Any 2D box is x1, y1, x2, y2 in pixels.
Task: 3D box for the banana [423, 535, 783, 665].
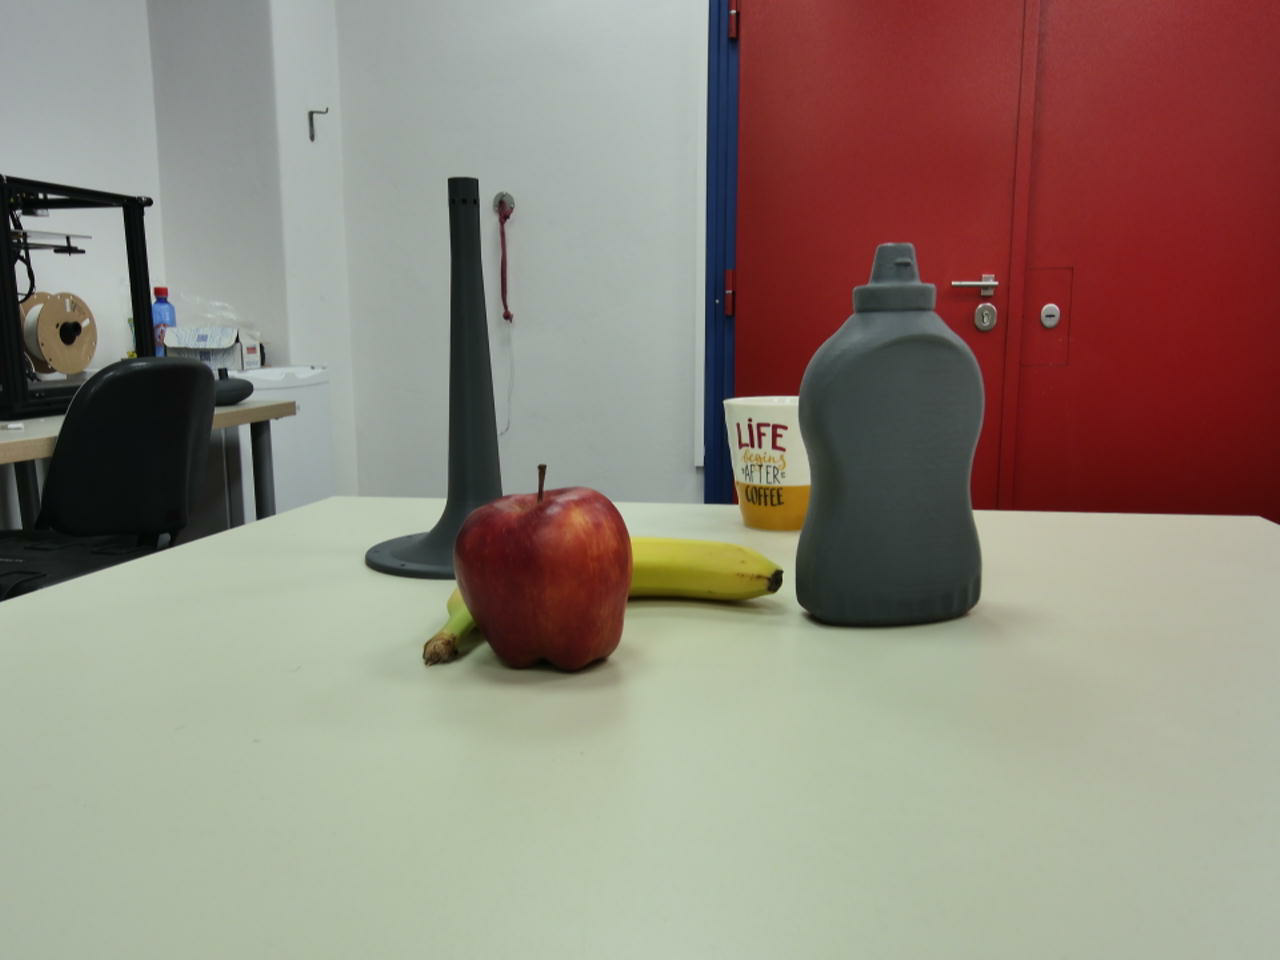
[{"bbox_3d":[-0.027,0.055,0.535,0.196,0.041,0.094,-3,7,-24],"label":"banana"}]
